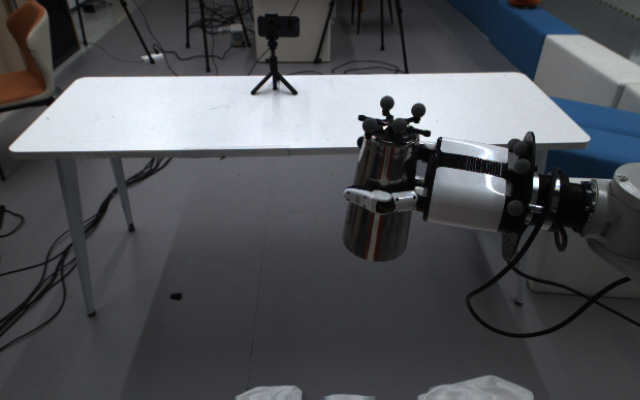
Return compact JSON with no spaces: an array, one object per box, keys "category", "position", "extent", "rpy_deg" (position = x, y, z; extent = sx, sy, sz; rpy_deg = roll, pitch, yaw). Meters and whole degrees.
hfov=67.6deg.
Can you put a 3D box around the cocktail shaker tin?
[{"category":"cocktail shaker tin","position":[0.084,-0.015,0.632],"extent":[0.093,0.170,0.093],"rpy_deg":[3,36,-2]}]
